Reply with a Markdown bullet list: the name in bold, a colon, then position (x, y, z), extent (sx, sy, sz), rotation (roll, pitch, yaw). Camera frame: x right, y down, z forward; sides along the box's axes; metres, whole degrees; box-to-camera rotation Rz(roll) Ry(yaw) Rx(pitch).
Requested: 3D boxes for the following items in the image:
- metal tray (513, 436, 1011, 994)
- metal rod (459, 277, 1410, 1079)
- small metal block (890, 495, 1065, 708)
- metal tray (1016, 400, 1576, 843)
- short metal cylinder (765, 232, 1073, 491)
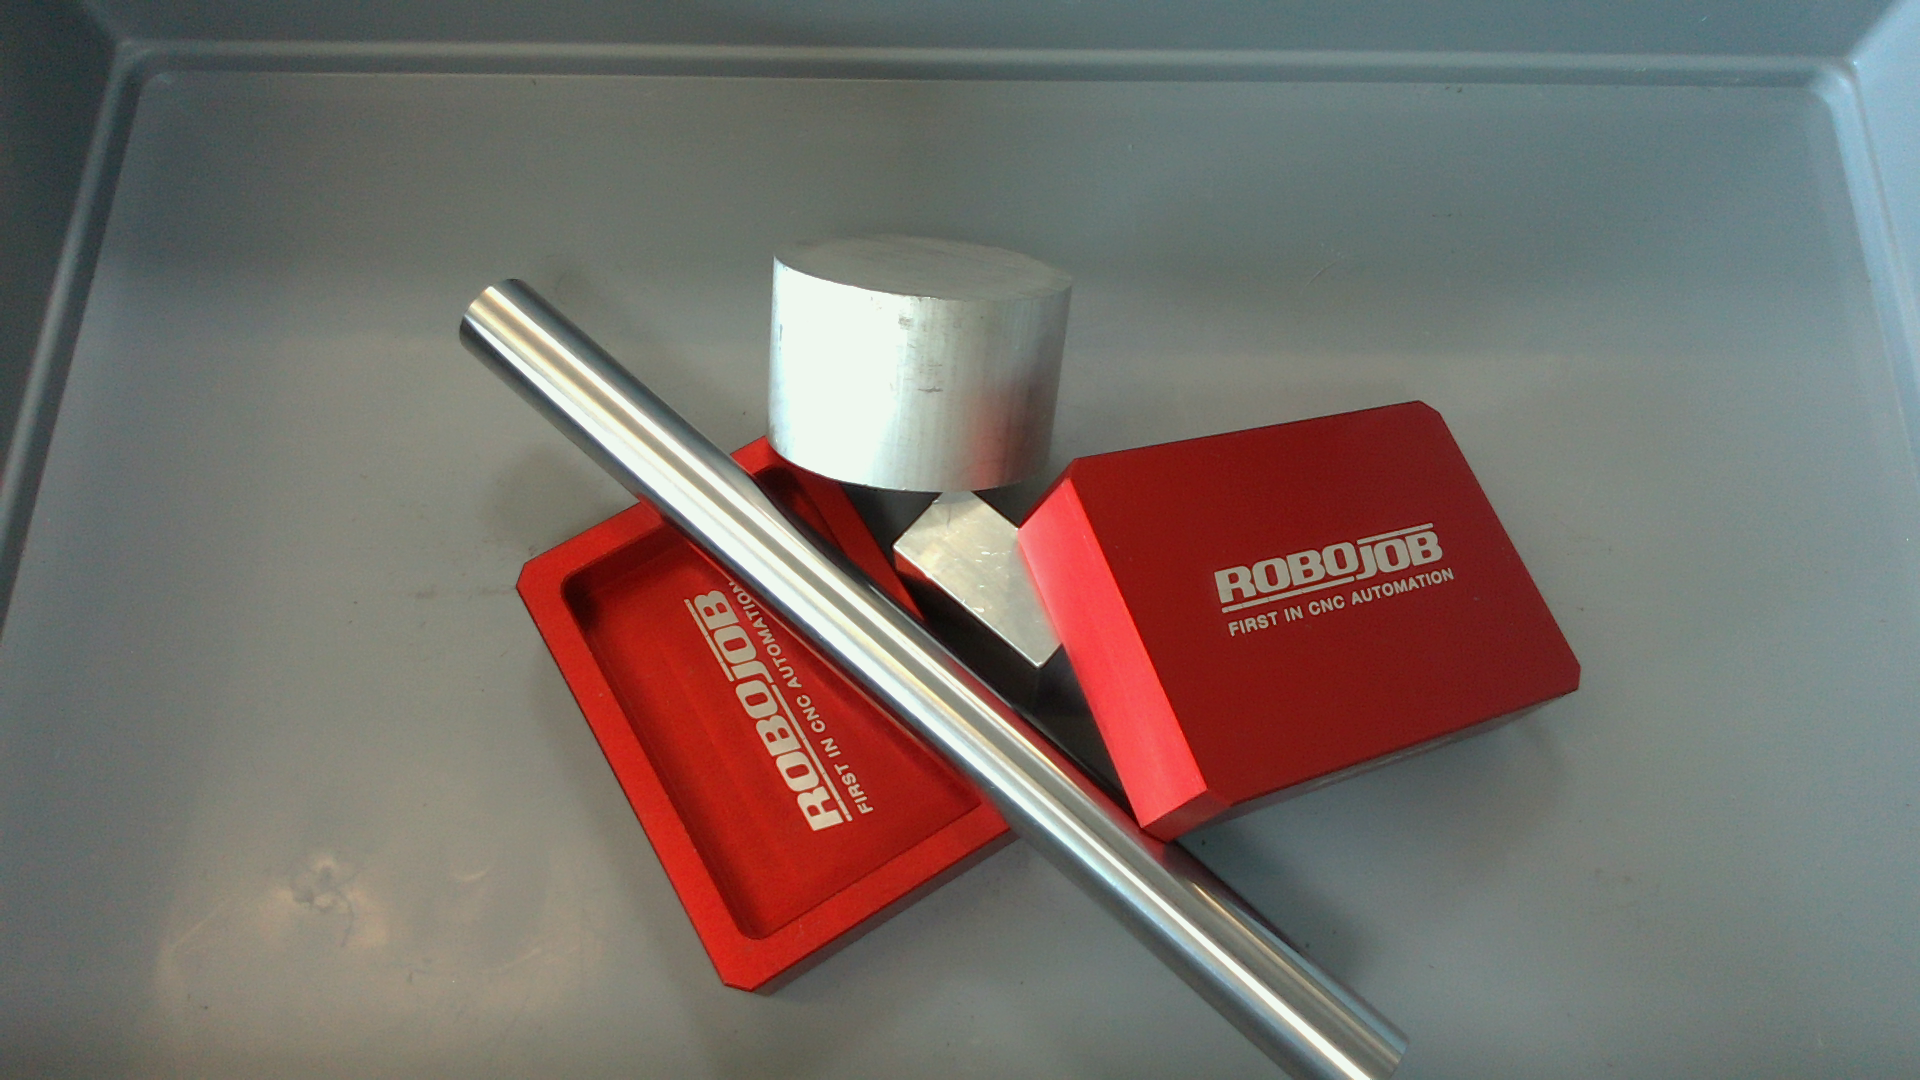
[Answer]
- **metal tray**: position (-0.051, 0.043, 0.374), extent (0.090, 0.030, 0.130), rotation (-30, 73, -10)
- **metal rod**: position (-0.017, 0.030, 0.350), extent (0.300, 0.025, 0.025), rotation (40, 75, 13)
- **small metal block**: position (0.009, 0.016, 0.373), extent (0.050, 0.050, 0.025), rotation (39, 75, 13)
- **metal tray**: position (0.089, 0.016, 0.358), extent (0.130, 0.030, 0.090), rotation (-11, 68, -30)
- **short metal cylinder**: position (-0.012, -0.051, 0.376), extent (0.080, 0.080, 0.050), rotation (8, 112, 3)
